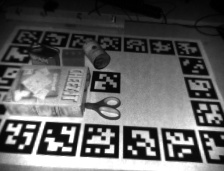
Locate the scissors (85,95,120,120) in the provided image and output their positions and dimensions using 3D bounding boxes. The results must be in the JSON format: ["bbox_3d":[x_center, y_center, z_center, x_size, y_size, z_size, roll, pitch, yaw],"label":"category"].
[{"bbox_3d":[-0.078,0.067,0.663,0.203,0.016,0.087,-1,51,-5],"label":"scissors"}]

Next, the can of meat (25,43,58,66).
[{"bbox_3d":[-0.240,-0.091,0.749,0.101,0.084,0.058,14,51,7],"label":"can of meat"}]

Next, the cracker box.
[{"bbox_3d":[-0.191,0.014,0.656,0.214,0.072,0.163,-3,49,-2],"label":"cracker box"}]

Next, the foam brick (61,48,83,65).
[{"bbox_3d":[-0.145,-0.099,0.789,0.078,0.051,0.052,-5,51,-9],"label":"foam brick"}]

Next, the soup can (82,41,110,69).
[{"bbox_3d":[-0.062,-0.116,0.809,0.068,0.068,0.101,-28,52,-24],"label":"soup can"}]
